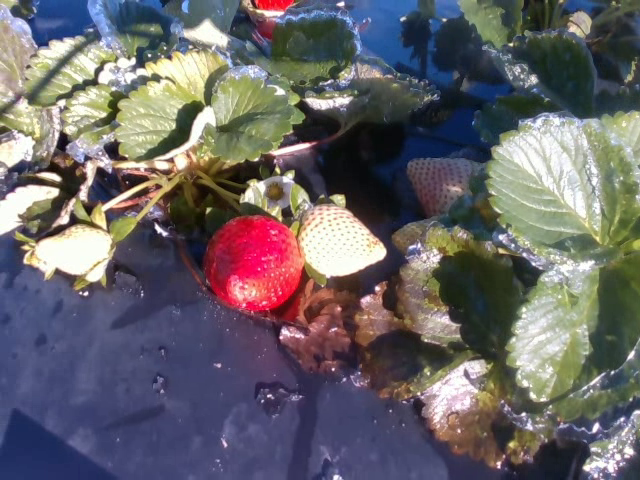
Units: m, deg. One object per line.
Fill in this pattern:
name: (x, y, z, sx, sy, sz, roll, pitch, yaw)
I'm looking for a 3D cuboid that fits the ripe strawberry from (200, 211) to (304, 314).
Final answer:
ripe strawberry: (-0.024, 0.012, 0.214, 0.040, 0.042, 0.053, -17, 13, 7)
